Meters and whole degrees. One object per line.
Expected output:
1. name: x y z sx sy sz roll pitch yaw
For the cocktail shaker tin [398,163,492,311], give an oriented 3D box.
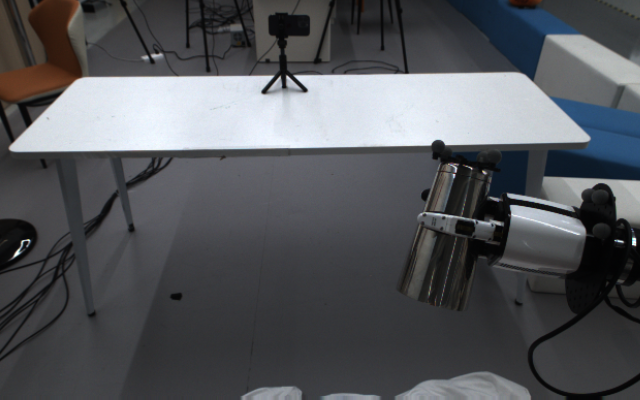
1. cocktail shaker tin: 0.163 0.042 0.614 0.093 0.170 0.093 14 2 0
